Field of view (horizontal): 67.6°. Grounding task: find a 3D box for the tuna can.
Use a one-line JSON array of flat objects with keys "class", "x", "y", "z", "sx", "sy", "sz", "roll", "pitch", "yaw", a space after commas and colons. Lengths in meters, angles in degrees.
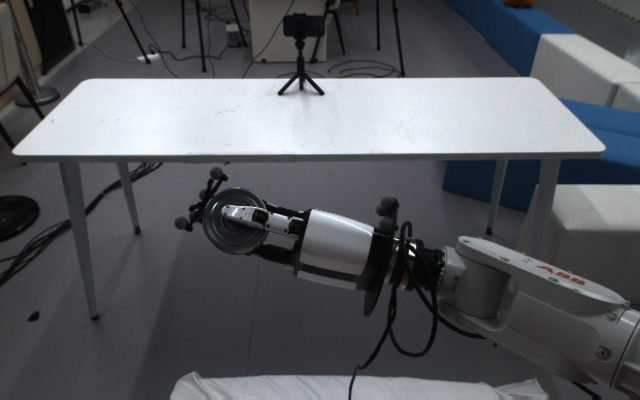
[{"class": "tuna can", "x": -0.105, "y": 0.031, "z": 0.629, "sx": 0.085, "sy": 0.034, "sz": 0.085, "roll": 1, "pitch": 77, "yaw": -5}]
